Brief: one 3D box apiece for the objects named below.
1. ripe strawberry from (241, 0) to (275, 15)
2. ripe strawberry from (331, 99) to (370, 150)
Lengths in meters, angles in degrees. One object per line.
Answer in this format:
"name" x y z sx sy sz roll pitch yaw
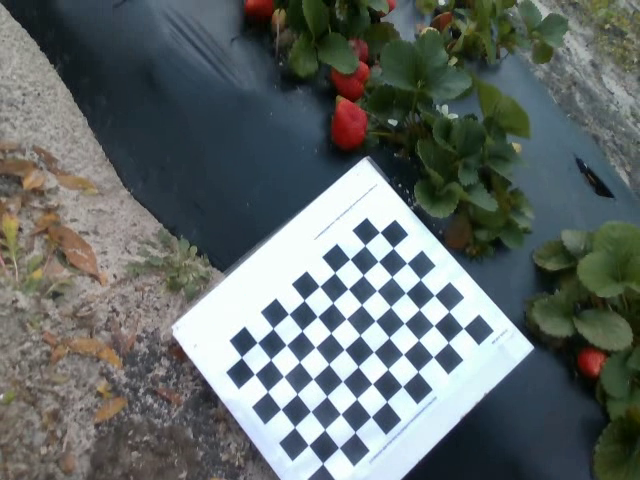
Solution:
"ripe strawberry" -0.068 -0.298 0.730 0.043 0.041 0.052 31 36 9
"ripe strawberry" 0.044 -0.137 0.693 0.057 0.056 0.064 8 -9 19
